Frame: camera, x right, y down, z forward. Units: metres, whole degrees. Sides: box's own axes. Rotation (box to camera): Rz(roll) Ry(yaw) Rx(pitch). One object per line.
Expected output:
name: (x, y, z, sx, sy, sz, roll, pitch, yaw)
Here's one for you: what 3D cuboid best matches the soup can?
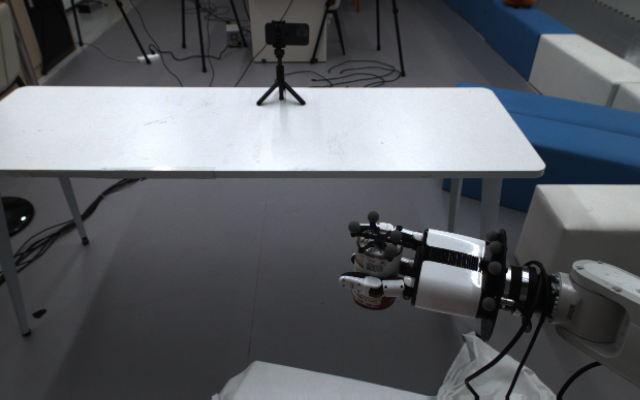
soup can: (0.084, 0.102, 0.712, 0.067, 0.101, 0.067, 2, 32, -1)
